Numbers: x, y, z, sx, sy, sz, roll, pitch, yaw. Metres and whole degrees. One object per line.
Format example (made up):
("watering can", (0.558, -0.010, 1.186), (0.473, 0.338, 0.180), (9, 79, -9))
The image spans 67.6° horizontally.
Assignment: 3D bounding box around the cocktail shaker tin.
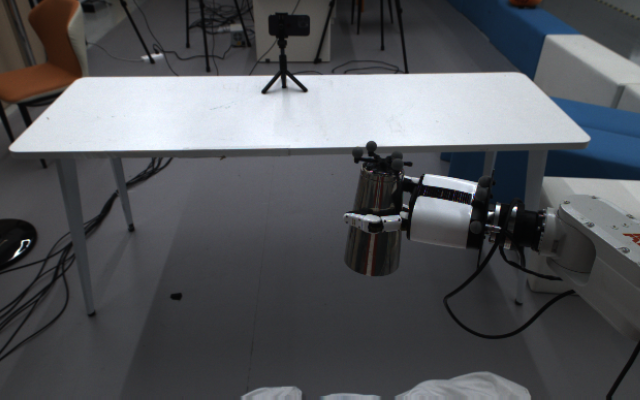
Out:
("cocktail shaker tin", (0.091, 0.024, 0.773), (0.093, 0.170, 0.093), (3, 26, -1))
